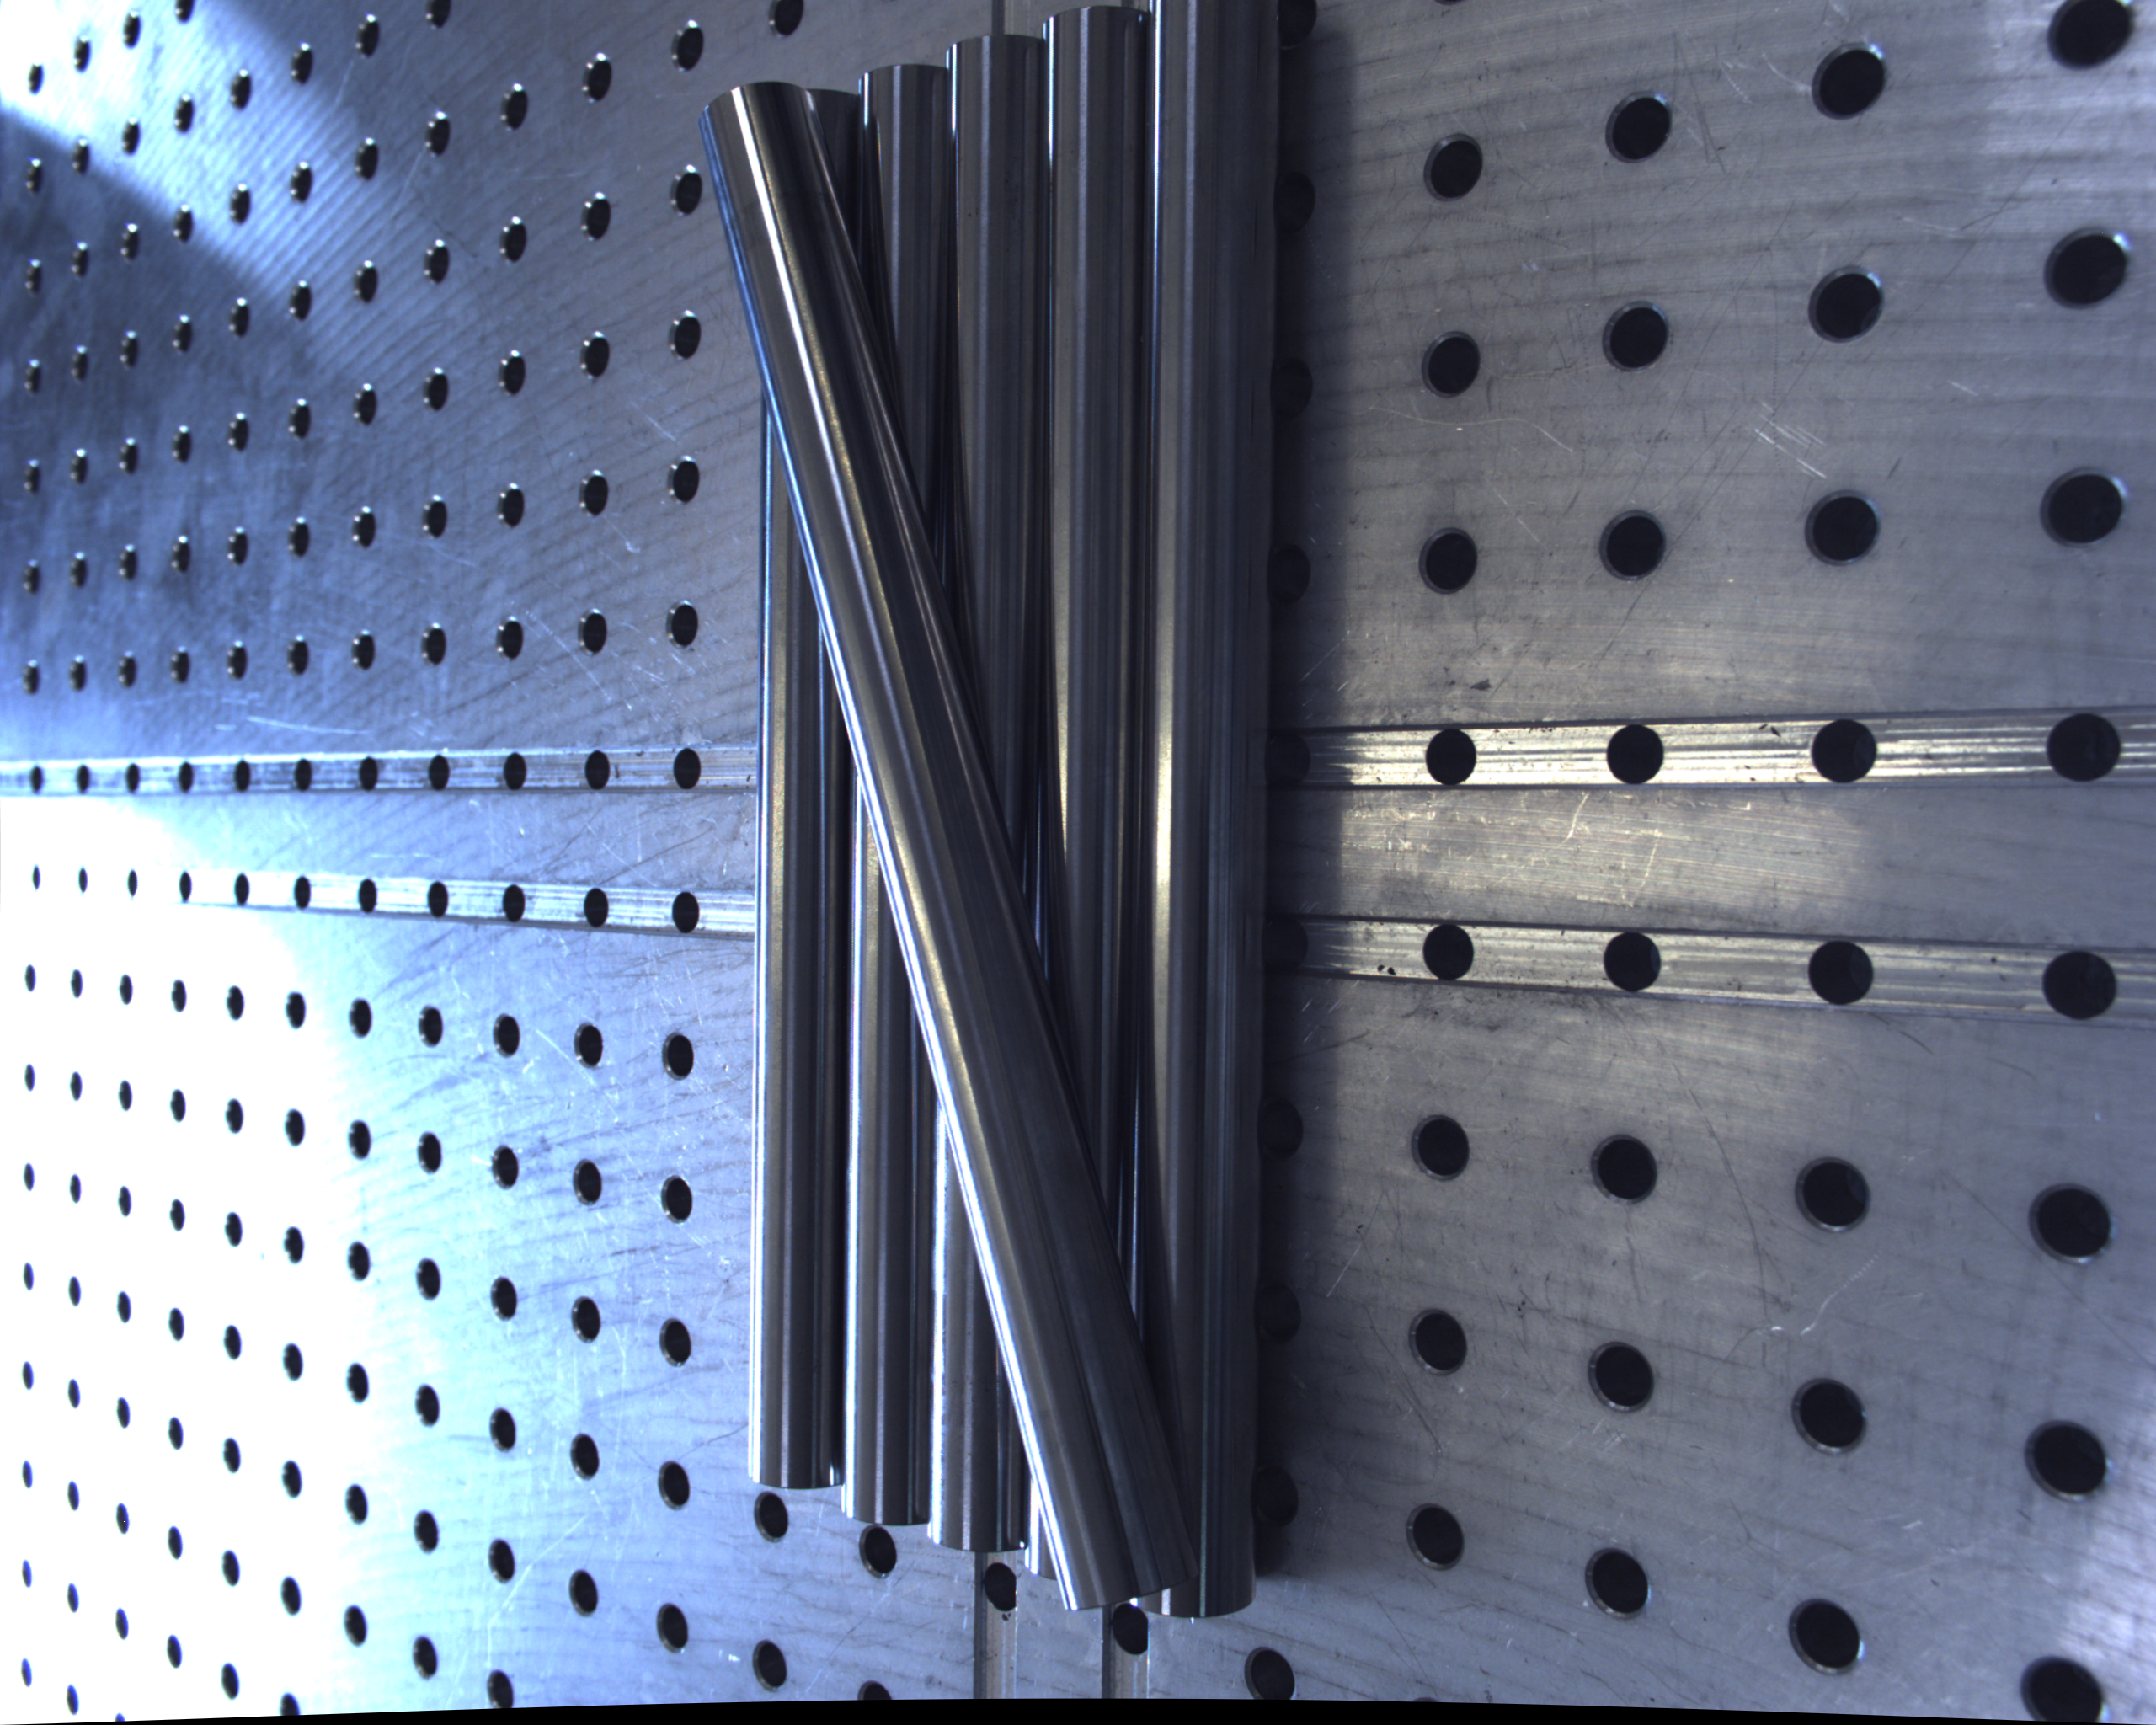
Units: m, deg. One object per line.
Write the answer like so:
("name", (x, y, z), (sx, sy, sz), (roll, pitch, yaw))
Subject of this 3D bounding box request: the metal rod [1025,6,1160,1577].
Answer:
("metal rod", (0.004, -0.013, 0.408), (0.025, 0.025, 0.298), (1, 91, 40))

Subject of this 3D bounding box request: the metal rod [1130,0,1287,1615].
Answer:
("metal rod", (0.024, -0.012, 0.391), (0.025, 0.025, 0.298), (2, 91, 40))

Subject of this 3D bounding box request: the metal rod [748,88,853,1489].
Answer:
("metal rod", (-0.058, -0.015, 0.457), (0.025, 0.025, 0.298), (1, 91, 40))

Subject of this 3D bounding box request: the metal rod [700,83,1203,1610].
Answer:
("metal rod", (-0.028, -0.013, 0.401), (0.025, 0.025, 0.299), (-24, 75, 37))

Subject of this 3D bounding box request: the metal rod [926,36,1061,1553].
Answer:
("metal rod", (-0.017, -0.013, 0.423), (0.025, 0.025, 0.298), (1, 91, 40))

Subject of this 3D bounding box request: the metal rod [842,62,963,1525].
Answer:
("metal rod", (-0.035, -0.014, 0.439), (0.025, 0.025, 0.298), (1, 91, 40))
